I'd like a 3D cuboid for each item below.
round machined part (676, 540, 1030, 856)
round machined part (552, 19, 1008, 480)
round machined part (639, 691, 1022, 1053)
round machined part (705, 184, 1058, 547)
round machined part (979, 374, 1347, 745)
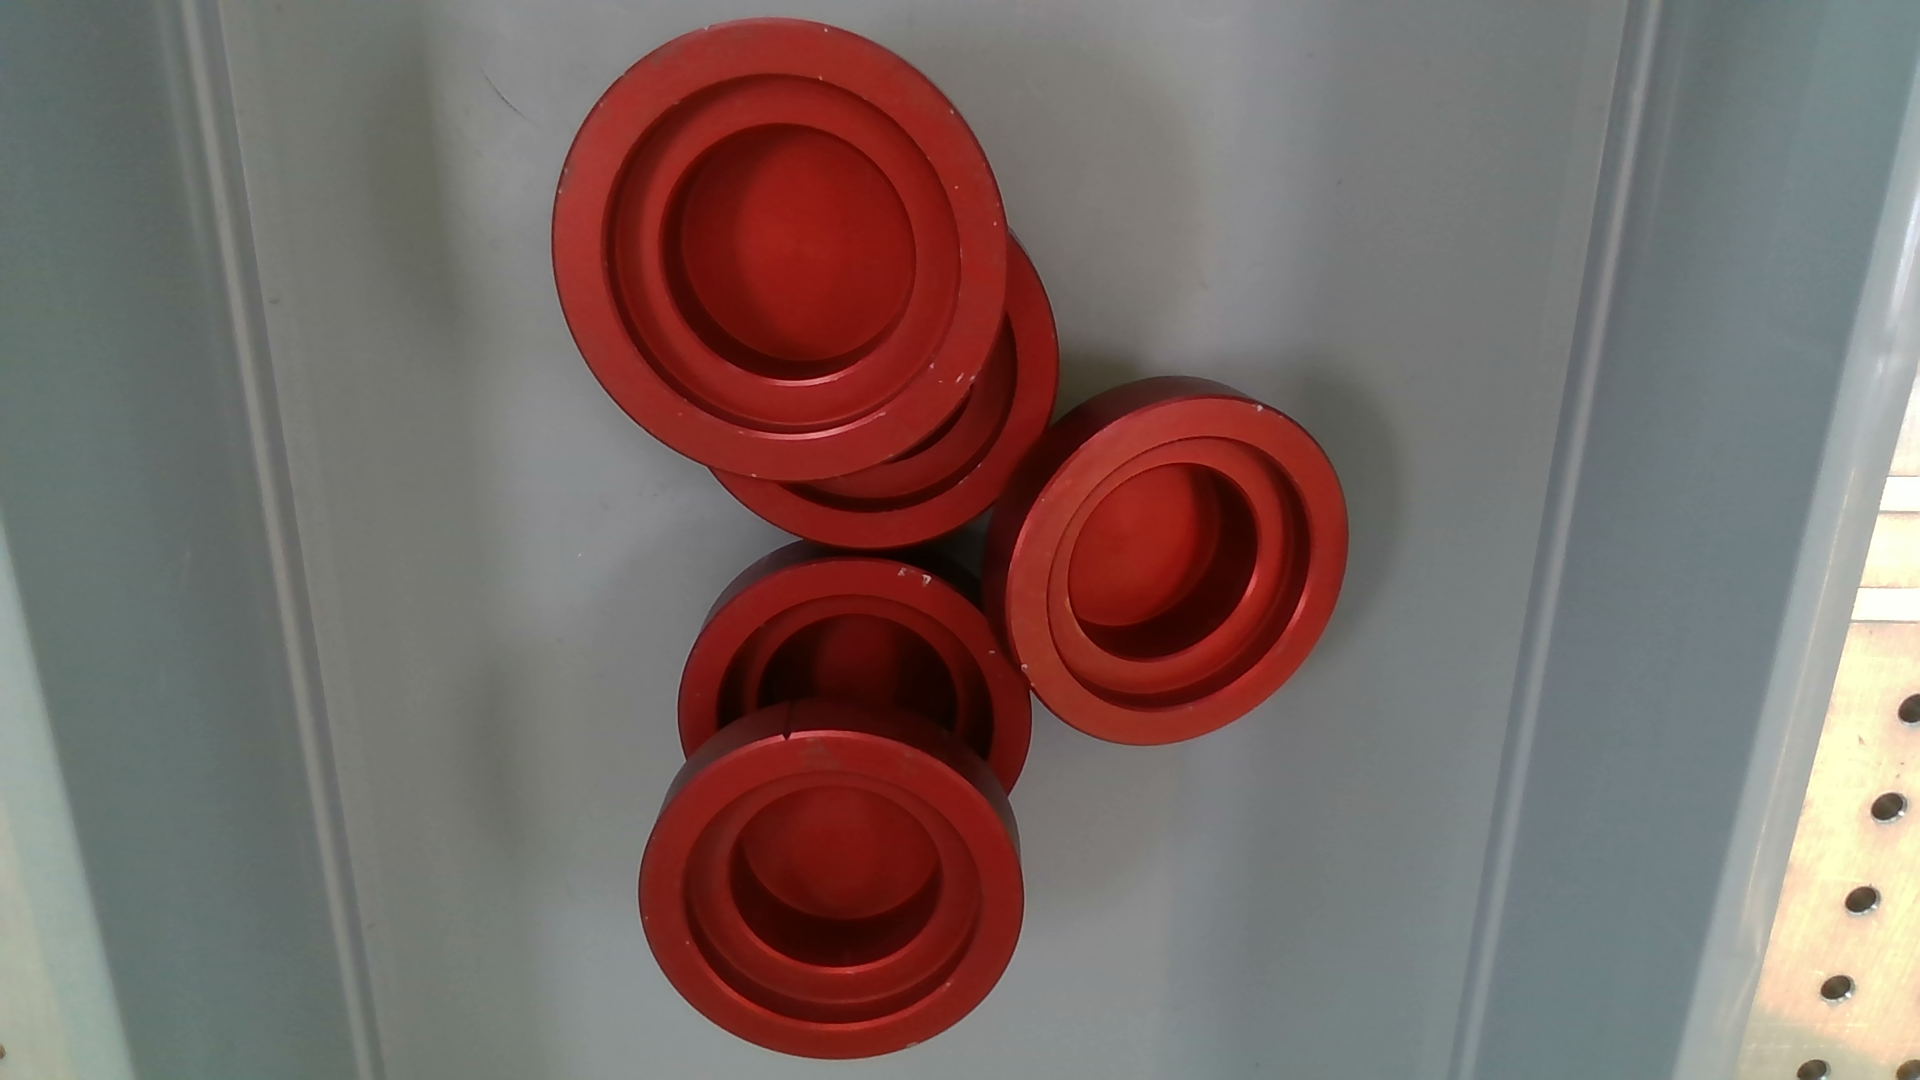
[{"bbox_3d":[-0.030,0.043,0.400,0.098,0.042,0.098,0,110,0],"label":"round machined part"},{"bbox_3d":[-0.038,-0.066,0.315,0.098,0.042,0.098,0,110,0],"label":"round machined part"},{"bbox_3d":[-0.033,0.085,0.371,0.098,0.042,0.098,0,110,0],"label":"round machined part"},{"bbox_3d":[-0.024,-0.051,0.365,0.098,0.042,0.098,0,110,0],"label":"round machined part"},{"bbox_3d":[0.051,0.003,0.374,0.098,0.042,0.098,-7,112,-17],"label":"round machined part"}]
